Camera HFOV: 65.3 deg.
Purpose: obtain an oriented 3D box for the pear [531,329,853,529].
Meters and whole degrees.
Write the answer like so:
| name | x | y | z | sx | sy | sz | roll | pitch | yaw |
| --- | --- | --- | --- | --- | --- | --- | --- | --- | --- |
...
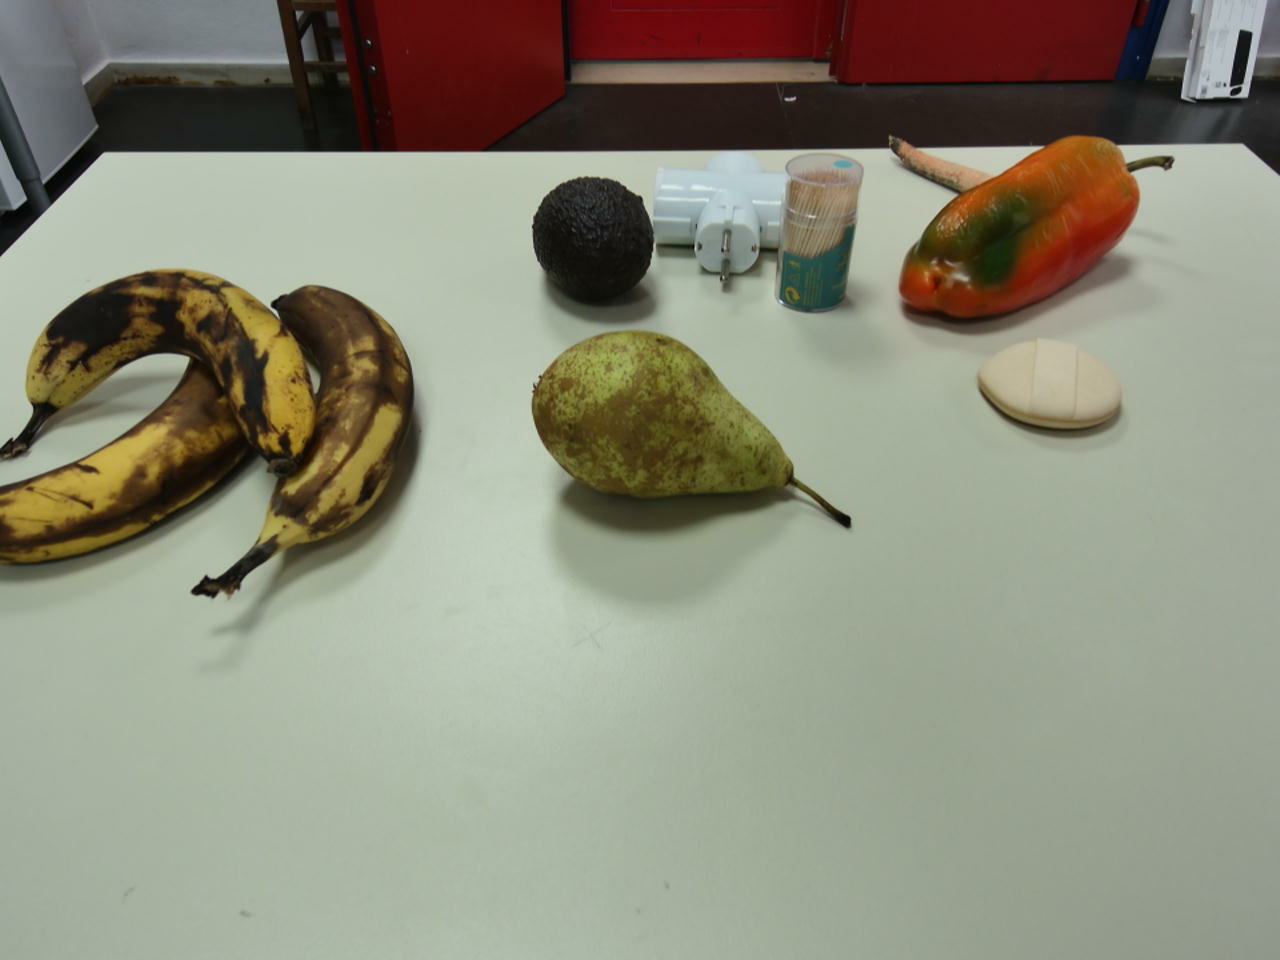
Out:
| name | x | y | z | sx | sy | sz | roll | pitch | yaw |
| --- | --- | --- | --- | --- | --- | --- | --- | --- | --- |
| pear | 0.020 | -0.028 | 0.421 | 0.128 | 0.075 | 0.071 | -5 | 38 | -6 |
